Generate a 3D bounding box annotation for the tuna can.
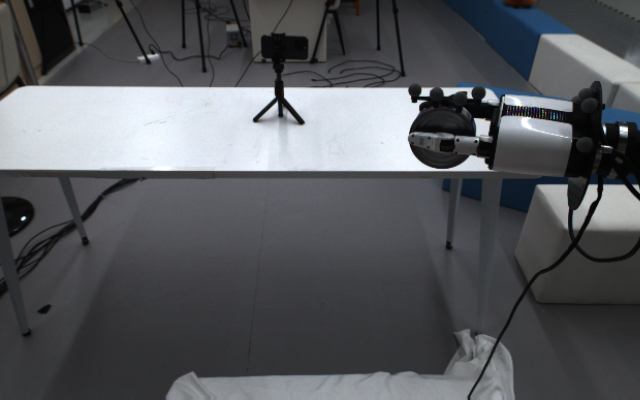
[{"bbox_3d":[0.166,-0.091,0.649,0.085,0.085,0.034,13,30,15],"label":"tuna can"}]
